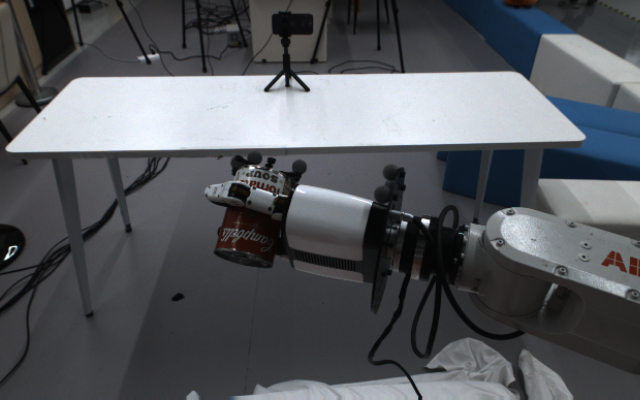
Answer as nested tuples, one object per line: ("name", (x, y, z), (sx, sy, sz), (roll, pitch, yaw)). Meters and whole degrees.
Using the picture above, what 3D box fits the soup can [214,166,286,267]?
("soup can", (-0.073, 0.020, 0.549), (0.067, 0.067, 0.101), (9, 71, 9))
